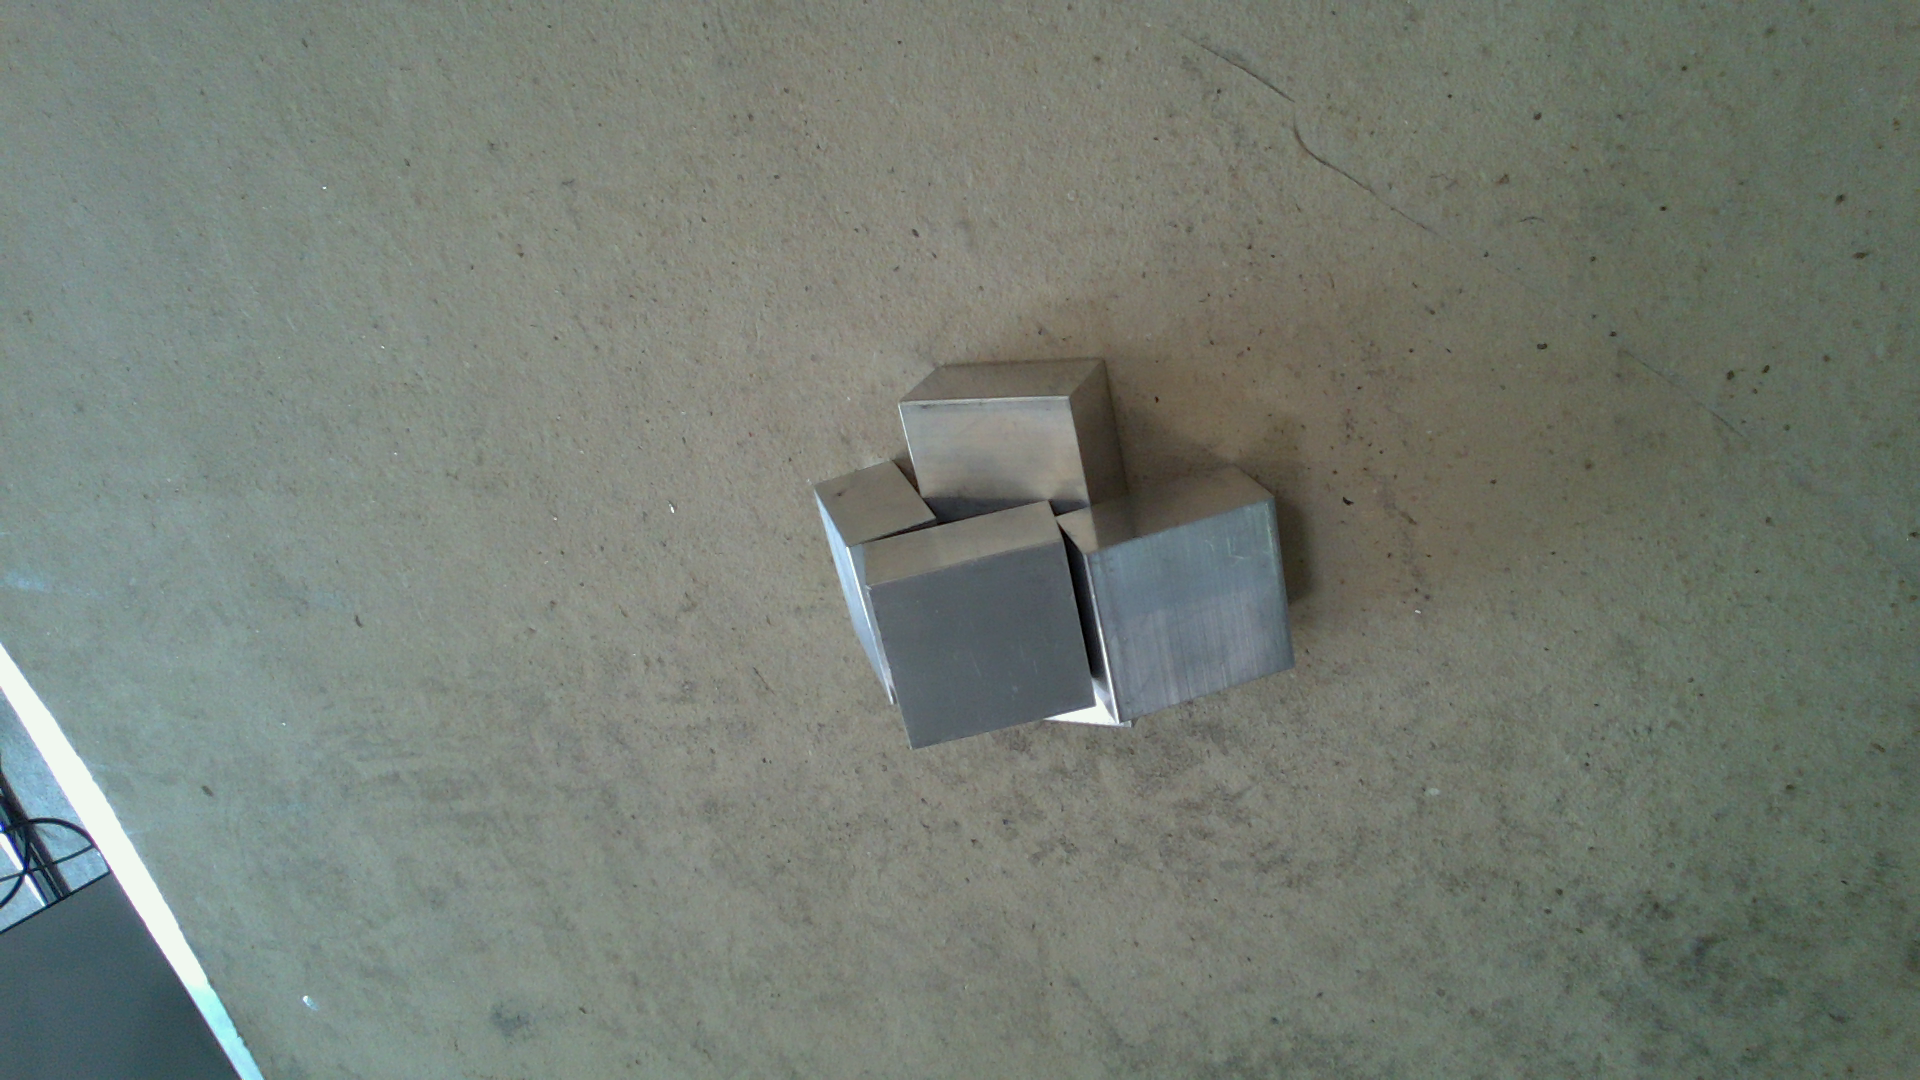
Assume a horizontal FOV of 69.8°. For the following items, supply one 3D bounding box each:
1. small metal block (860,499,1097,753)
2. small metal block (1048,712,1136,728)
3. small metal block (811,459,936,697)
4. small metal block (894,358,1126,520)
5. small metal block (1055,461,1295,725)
[{"bbox_3d":[0.005,0.022,0.358,0.050,0.025,0.050,-13,116,0],"label":"small metal block"},{"bbox_3d":[0.026,0.024,0.394,0.050,0.025,0.050,1,119,28],"label":"small metal block"},{"bbox_3d":[-0.019,0.010,0.393,0.025,0.050,0.050,-18,116,-9],"label":"small metal block"},{"bbox_3d":[0.015,-0.020,0.372,0.050,0.025,0.050,1,119,28],"label":"small metal block"},{"bbox_3d":[0.055,0.013,0.356,0.050,0.025,0.050,-17,116,-8],"label":"small metal block"}]
